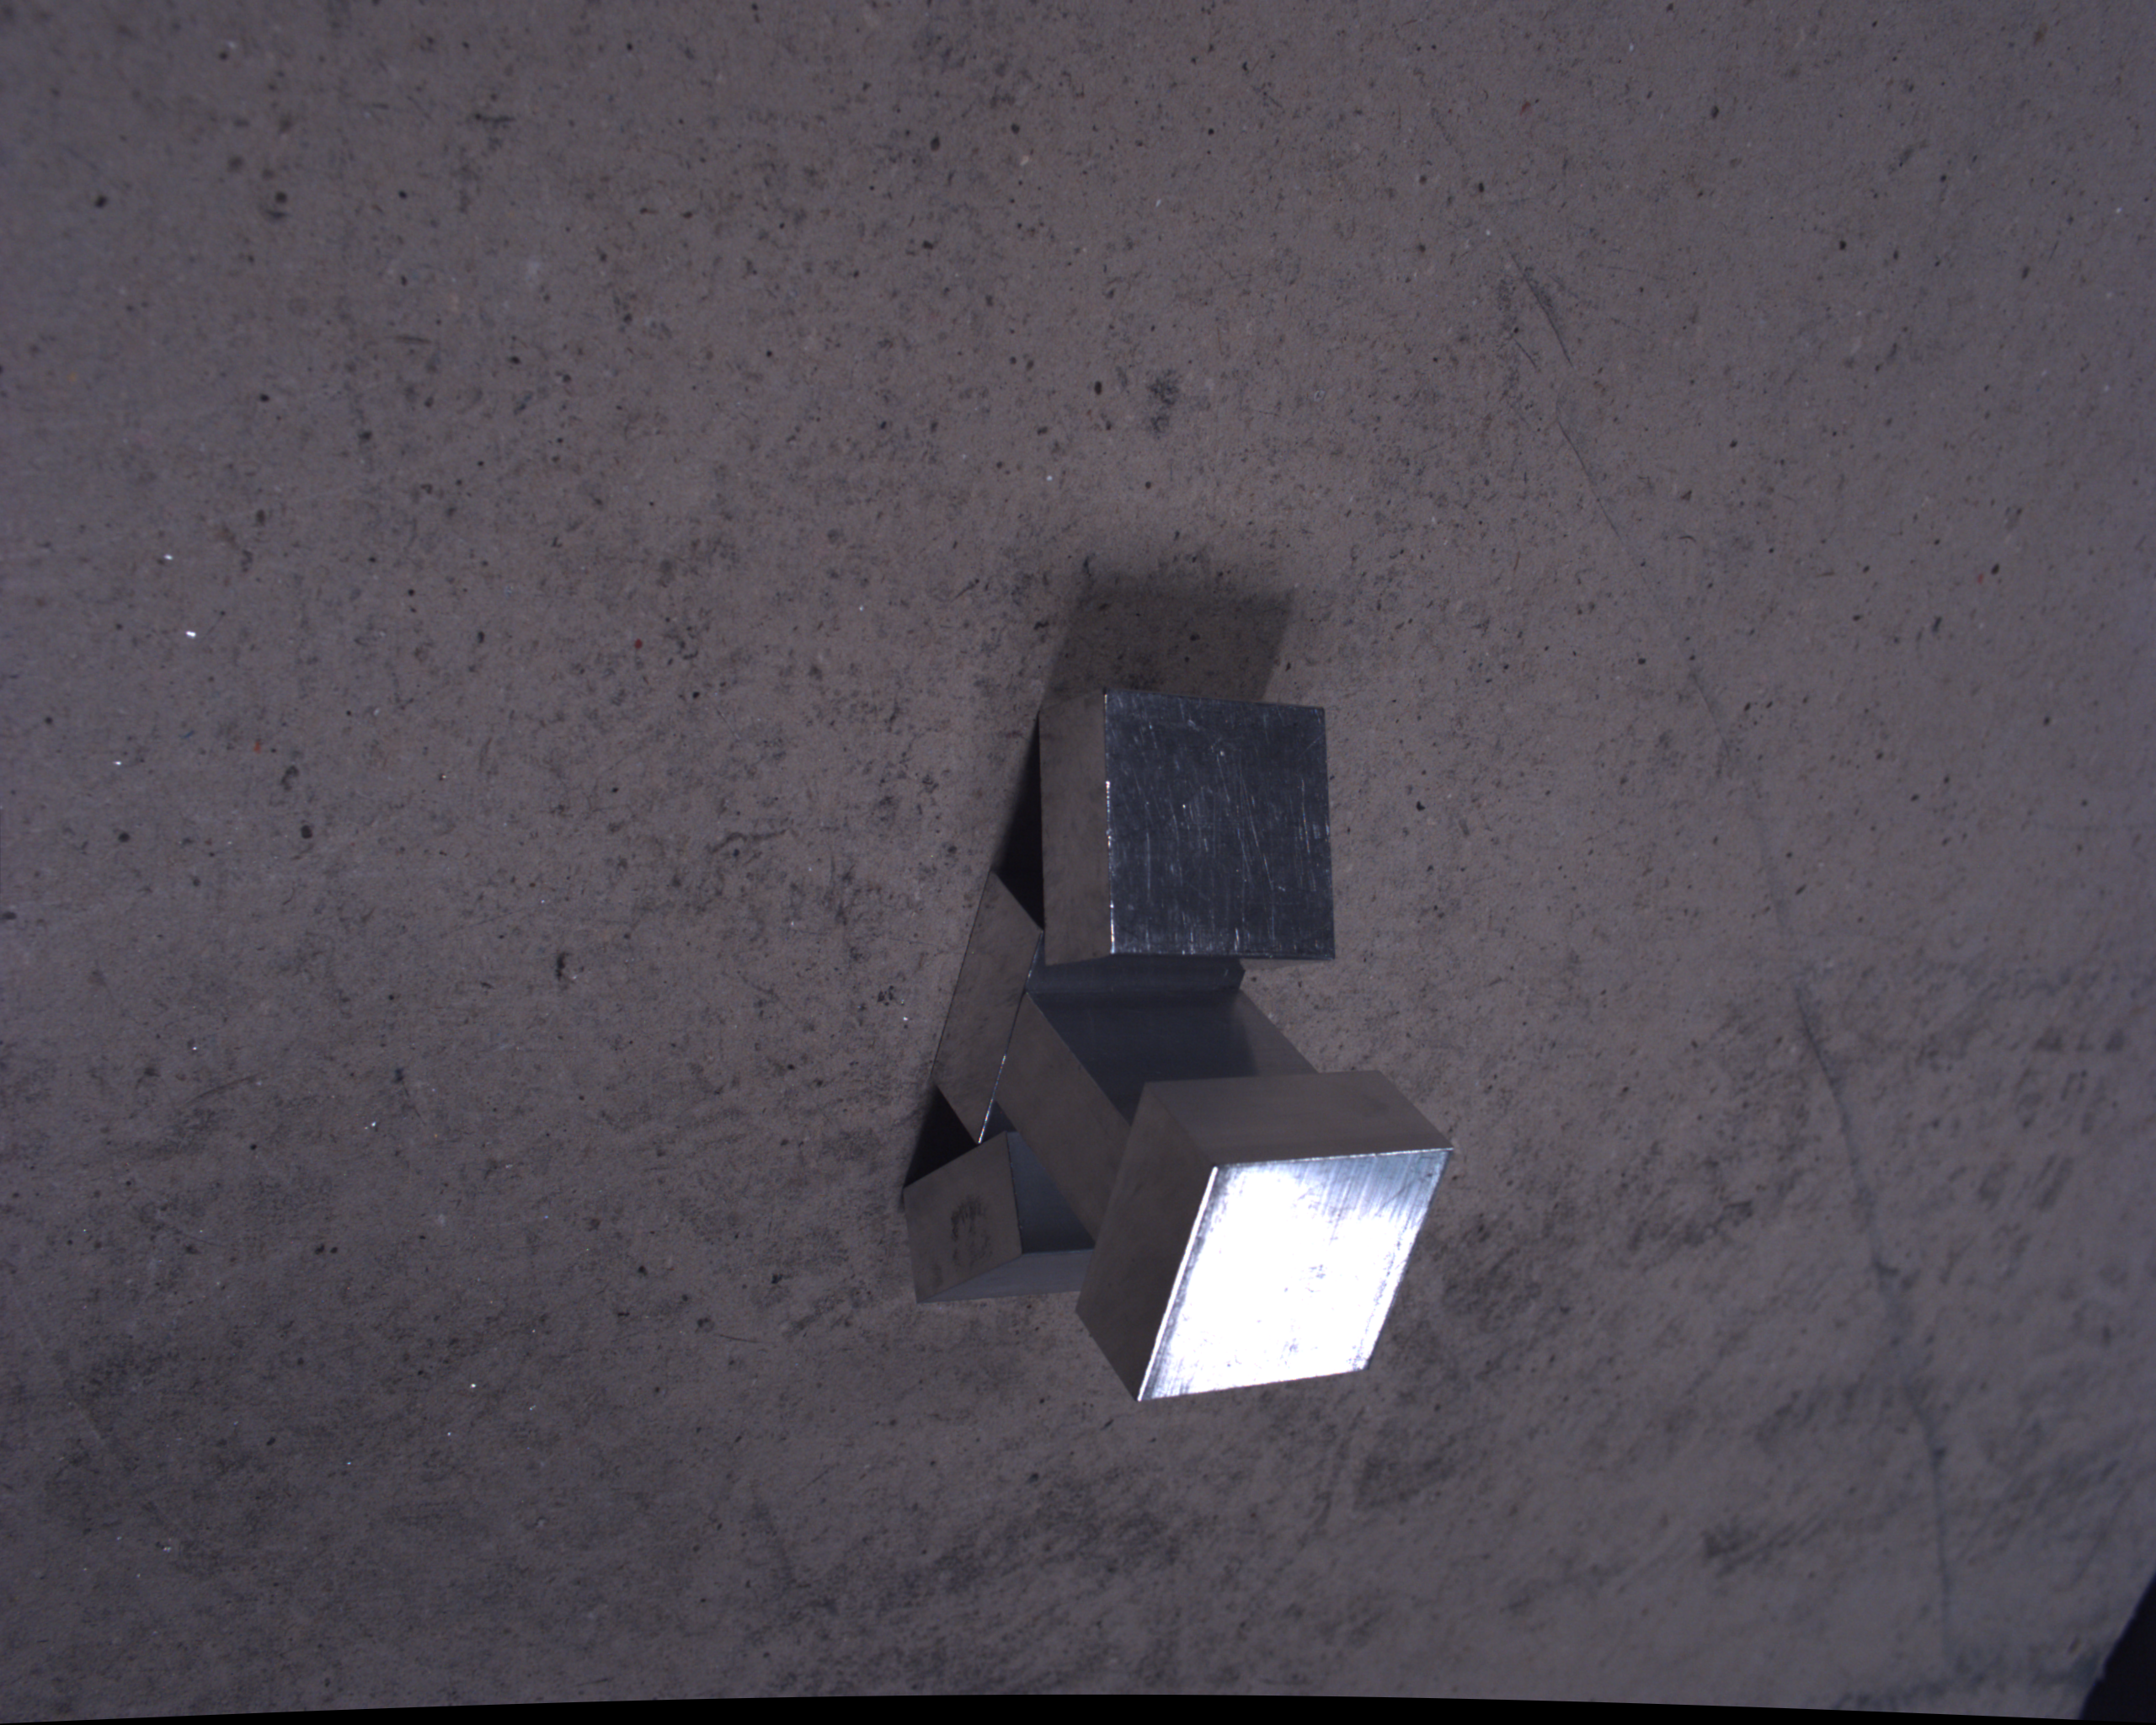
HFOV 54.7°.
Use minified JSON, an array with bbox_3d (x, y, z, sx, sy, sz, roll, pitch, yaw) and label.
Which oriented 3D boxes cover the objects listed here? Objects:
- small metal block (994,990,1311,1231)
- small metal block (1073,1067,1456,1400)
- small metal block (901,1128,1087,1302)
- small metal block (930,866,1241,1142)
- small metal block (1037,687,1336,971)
[{"bbox_3d":[0.019,0.048,0.401,0.050,0.050,0.025,2,117,-30],"label":"small metal block"},{"bbox_3d":[0.032,0.065,0.371,0.050,0.025,0.050,1,118,-29],"label":"small metal block"},{"bbox_3d":[-0.003,0.073,0.438,0.050,0.025,0.050,2,158,-30],"label":"small metal block"},{"bbox_3d":[0.003,0.029,0.431,0.050,0.025,0.050,2,117,-30],"label":"small metal block"},{"bbox_3d":[0.021,-0.005,0.403,0.050,0.025,0.050,3,81,-30],"label":"small metal block"}]
